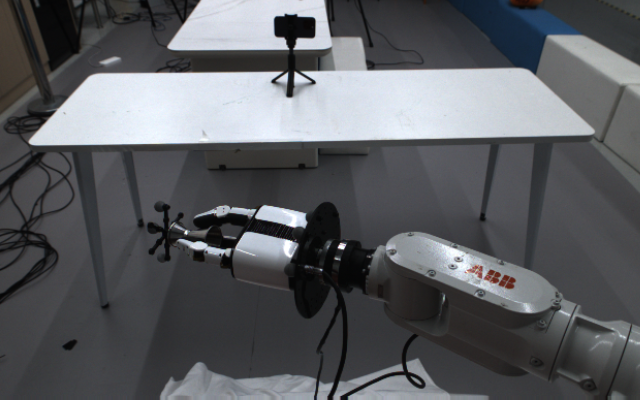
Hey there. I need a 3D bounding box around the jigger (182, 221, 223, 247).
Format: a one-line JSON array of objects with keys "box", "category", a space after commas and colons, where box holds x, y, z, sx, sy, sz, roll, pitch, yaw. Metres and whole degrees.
[{"box": [-0.181, 0.053, 0.722, 0.071, 0.043, 0.043, 6, 34, 20], "category": "jigger"}]
